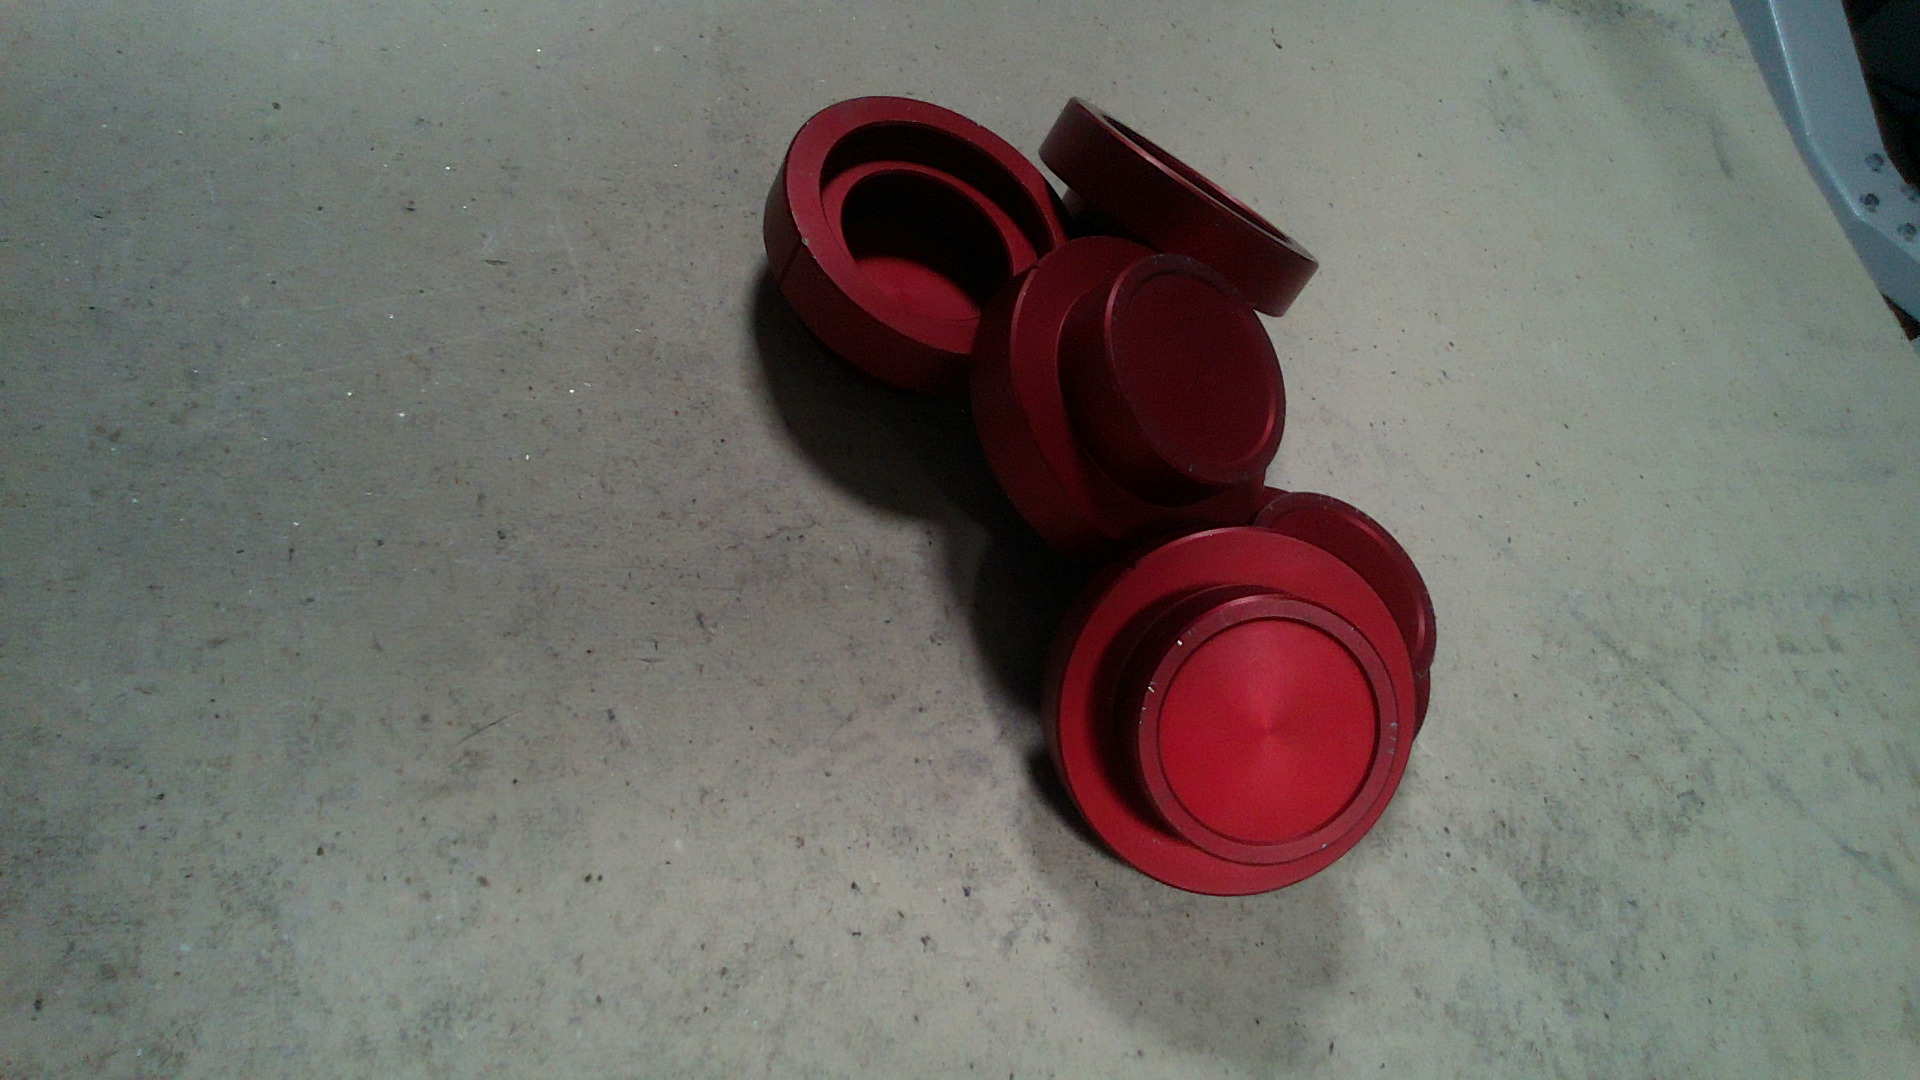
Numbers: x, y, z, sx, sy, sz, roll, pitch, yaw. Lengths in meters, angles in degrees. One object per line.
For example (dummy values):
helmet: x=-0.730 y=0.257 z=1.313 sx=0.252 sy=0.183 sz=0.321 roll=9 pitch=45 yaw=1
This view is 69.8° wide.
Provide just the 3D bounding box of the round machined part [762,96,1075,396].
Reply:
round machined part: x=-0.014 y=-0.085 z=0.423 sx=0.098 sy=0.042 sz=0.098 roll=14 pitch=56 yaw=-21

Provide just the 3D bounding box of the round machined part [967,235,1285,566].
round machined part: x=0.054 y=-0.043 z=0.392 sx=0.098 sy=0.042 sz=0.098 roll=14 pitch=64 yaw=-32

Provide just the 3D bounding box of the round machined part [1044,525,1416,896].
round machined part: x=0.073 y=0.045 z=0.358 sx=0.098 sy=0.042 sz=0.098 roll=-1 pitch=95 yaw=-9

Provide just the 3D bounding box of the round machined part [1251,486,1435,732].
round machined part: x=0.104 y=0.024 z=0.420 sx=0.098 sy=0.042 sz=0.098 roll=14 pitch=56 yaw=-21

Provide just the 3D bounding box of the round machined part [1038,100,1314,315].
round machined part: x=0.066 y=-0.102 z=0.459 sx=0.098 sy=0.042 sz=0.098 roll=29 pitch=21 yaw=-12
